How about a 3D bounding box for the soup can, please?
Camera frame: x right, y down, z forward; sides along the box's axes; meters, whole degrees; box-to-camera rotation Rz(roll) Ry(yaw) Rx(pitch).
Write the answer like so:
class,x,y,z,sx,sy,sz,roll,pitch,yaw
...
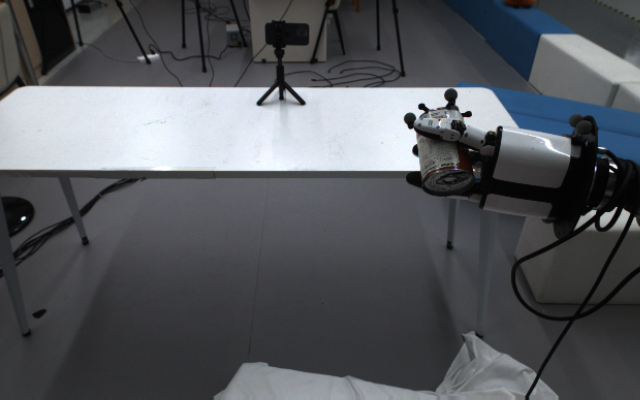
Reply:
class,x,y,z,sx,sy,sz,roll,pitch,yaw
soup can,0.167,-0.065,0.655,0.067,0.067,0.101,1,62,-2
